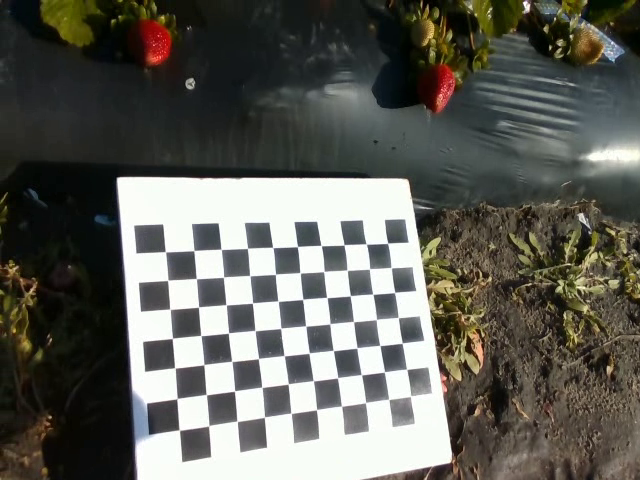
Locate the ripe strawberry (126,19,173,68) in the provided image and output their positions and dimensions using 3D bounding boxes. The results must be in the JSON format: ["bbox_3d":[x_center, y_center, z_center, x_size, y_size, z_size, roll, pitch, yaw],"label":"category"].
[{"bbox_3d":[-0.143,-0.162,0.648,0.045,0.055,0.042,9,-49,-29],"label":"ripe strawberry"}]

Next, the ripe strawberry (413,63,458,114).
[{"bbox_3d":[0.108,-0.139,0.732,0.042,0.059,0.042,23,-34,-24],"label":"ripe strawberry"}]
